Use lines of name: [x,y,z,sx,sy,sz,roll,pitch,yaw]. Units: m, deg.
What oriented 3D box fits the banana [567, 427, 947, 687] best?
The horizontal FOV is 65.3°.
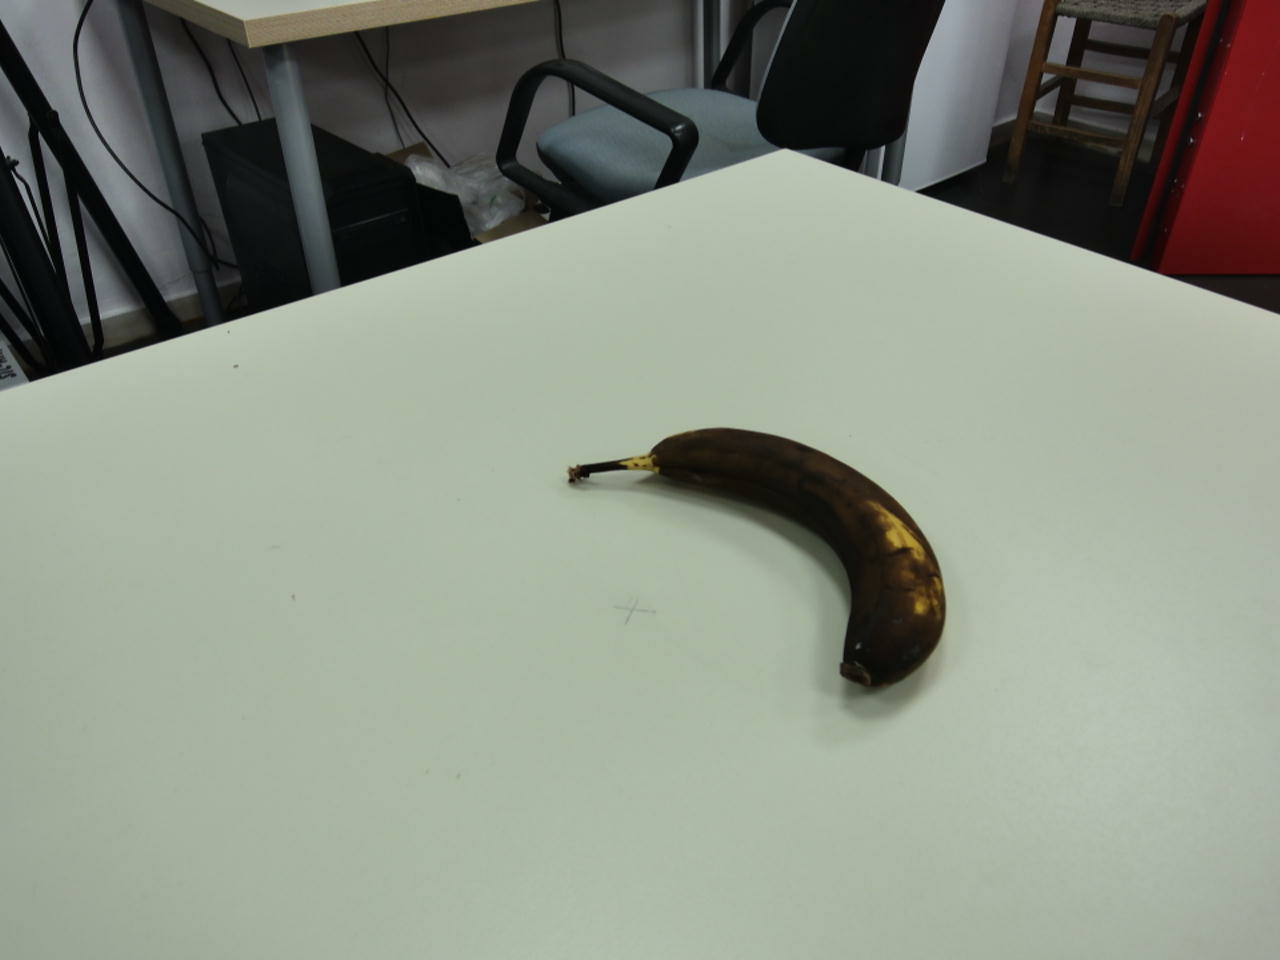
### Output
banana: [0.059,0.014,0.426,0.091,0.034,0.188,-24,41,-29]
